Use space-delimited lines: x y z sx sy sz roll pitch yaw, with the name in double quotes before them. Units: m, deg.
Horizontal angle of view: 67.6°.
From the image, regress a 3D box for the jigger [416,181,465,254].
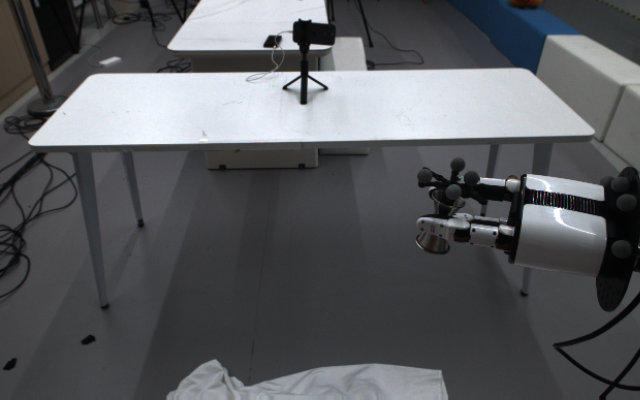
"jigger" 0.146 0.026 0.590 0.043 0.071 0.043 9 30 -5
